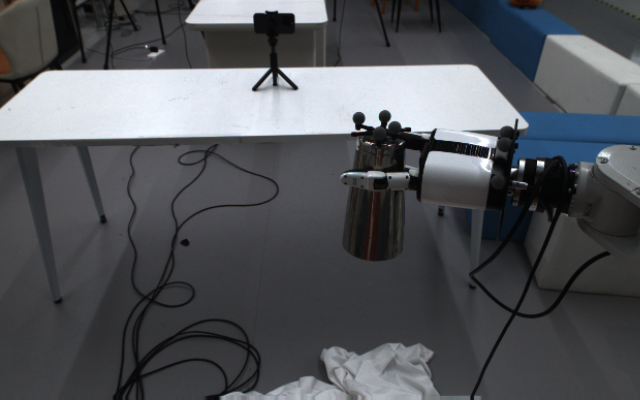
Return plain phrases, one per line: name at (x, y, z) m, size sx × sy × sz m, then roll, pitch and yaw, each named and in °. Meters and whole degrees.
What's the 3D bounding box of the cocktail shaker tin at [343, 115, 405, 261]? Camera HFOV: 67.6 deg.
cocktail shaker tin at (0.084, -0.011, 0.699) m, size 0.093 × 0.170 × 0.093 m, roll 1°, pitch 26°, yaw -1°
